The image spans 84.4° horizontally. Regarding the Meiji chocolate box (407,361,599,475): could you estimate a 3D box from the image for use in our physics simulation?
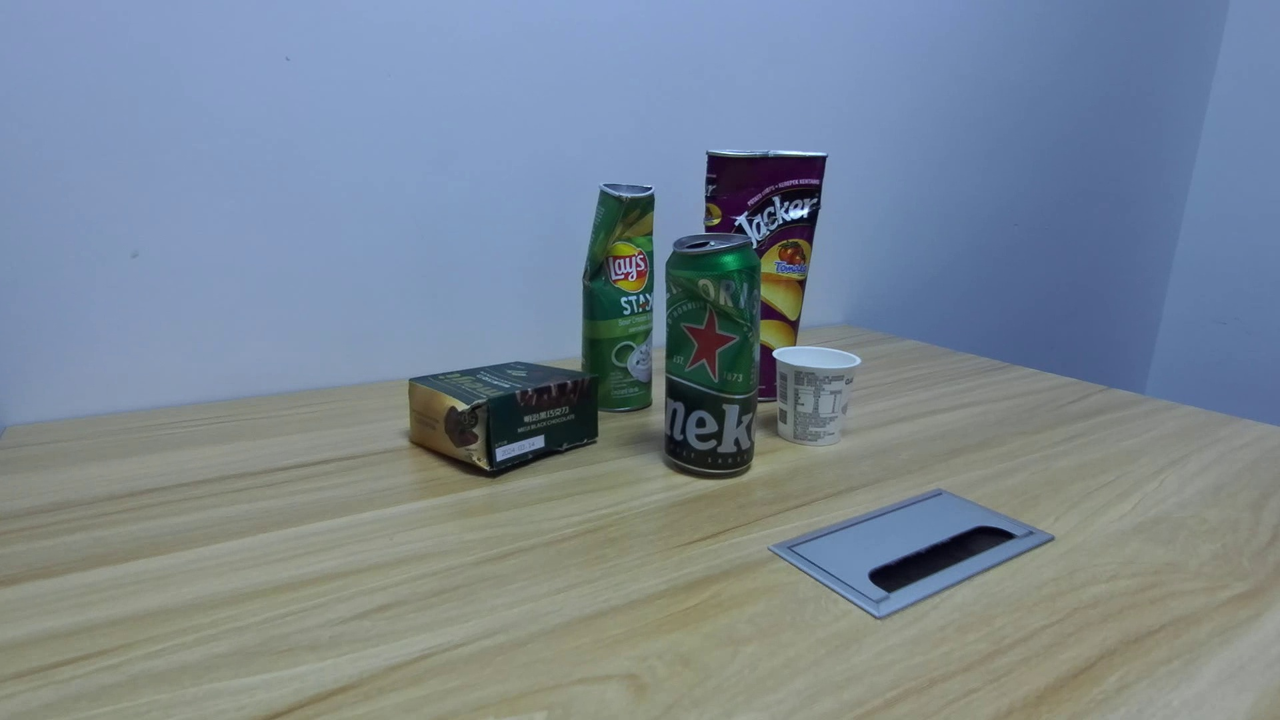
[{"bbox_3d":[-0.109,0.040,0.560,0.115,0.058,0.123,11,16,42],"label":"Meiji chocolate box"}]

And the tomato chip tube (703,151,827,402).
[{"bbox_3d":[0.112,-0.080,0.683,0.089,0.235,0.078,14,20,33],"label":"tomato chip tube"}]

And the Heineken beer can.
[{"bbox_3d":[0.051,-0.002,0.506,0.069,0.168,0.068,1,15,7],"label":"Heineken beer can"}]

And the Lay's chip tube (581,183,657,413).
[{"bbox_3d":[-0.018,-0.057,0.645,0.069,0.201,0.077,0,17,-6],"label":"Lay's chip tube"}]
